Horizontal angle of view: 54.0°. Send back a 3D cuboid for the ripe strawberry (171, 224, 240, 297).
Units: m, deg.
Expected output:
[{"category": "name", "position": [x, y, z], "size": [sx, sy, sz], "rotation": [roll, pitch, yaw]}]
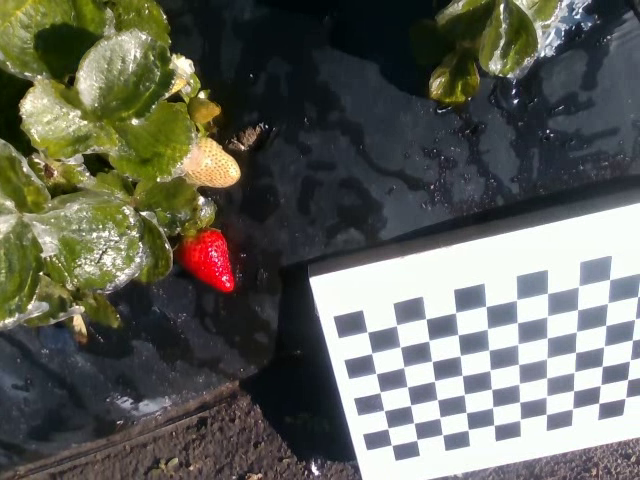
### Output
[{"category": "ripe strawberry", "position": [-0.078, 0.023, 0.451], "size": [0.041, 0.052, 0.040], "rotation": [-28, 24, 11]}]
